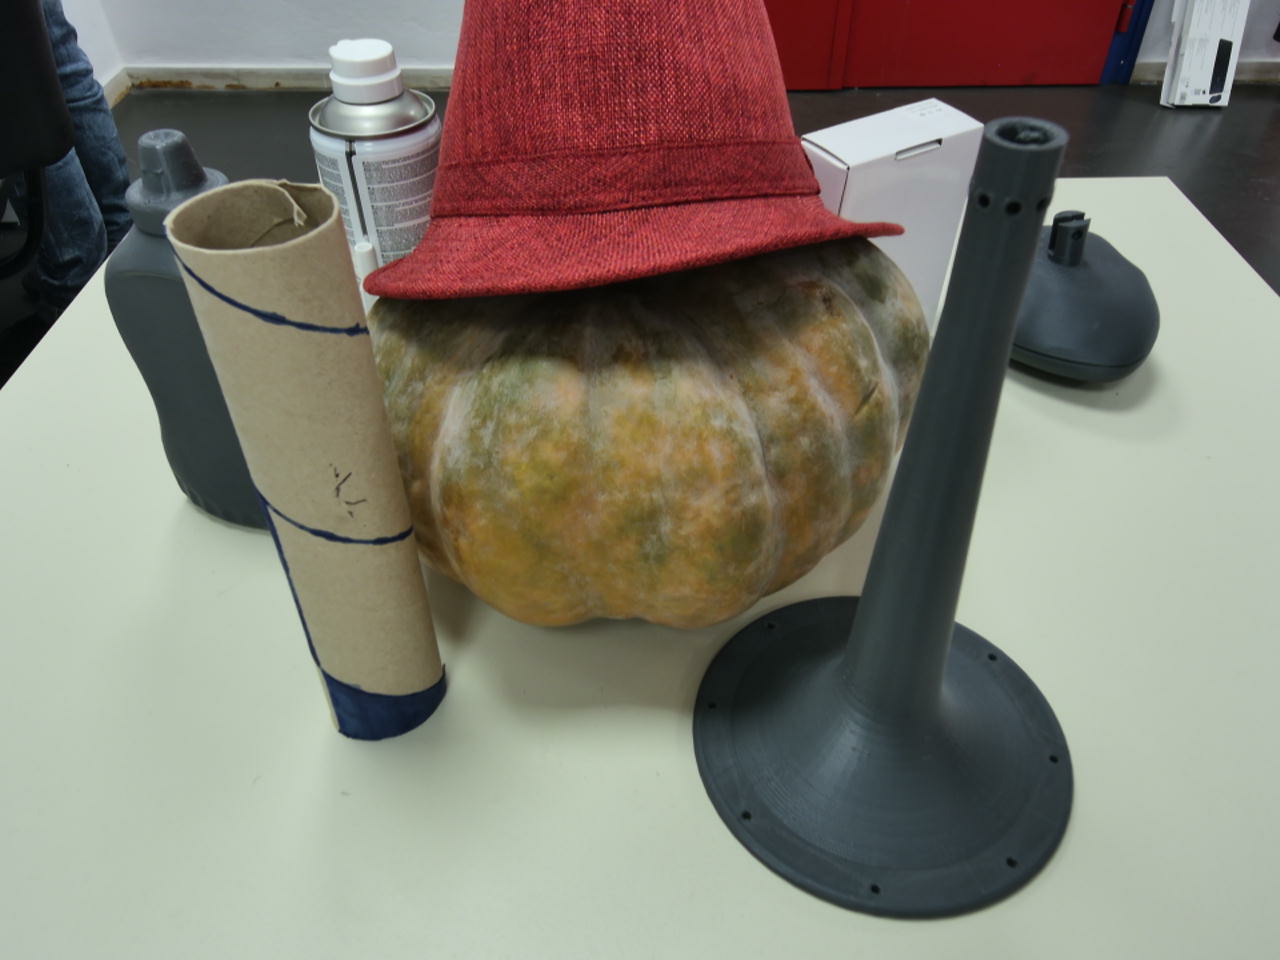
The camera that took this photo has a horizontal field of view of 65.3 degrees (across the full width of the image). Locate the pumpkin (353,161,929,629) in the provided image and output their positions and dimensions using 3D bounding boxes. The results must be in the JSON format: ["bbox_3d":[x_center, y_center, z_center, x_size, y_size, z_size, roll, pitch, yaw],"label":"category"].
[{"bbox_3d":[-0.007,-0.042,0.453,0.252,0.169,0.251,0,39,0],"label":"pumpkin"}]
